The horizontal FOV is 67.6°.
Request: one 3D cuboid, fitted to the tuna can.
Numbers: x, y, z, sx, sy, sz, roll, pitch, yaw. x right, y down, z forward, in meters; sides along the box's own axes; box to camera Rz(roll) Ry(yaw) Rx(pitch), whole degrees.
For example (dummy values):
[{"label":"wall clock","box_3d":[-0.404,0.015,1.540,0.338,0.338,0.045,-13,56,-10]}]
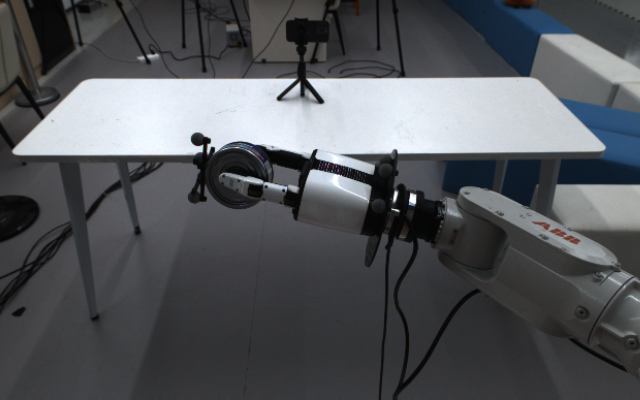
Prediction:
[{"label":"tuna can","box_3d":[-0.105,-0.032,0.638,0.085,0.085,0.034,4,18,3]}]
